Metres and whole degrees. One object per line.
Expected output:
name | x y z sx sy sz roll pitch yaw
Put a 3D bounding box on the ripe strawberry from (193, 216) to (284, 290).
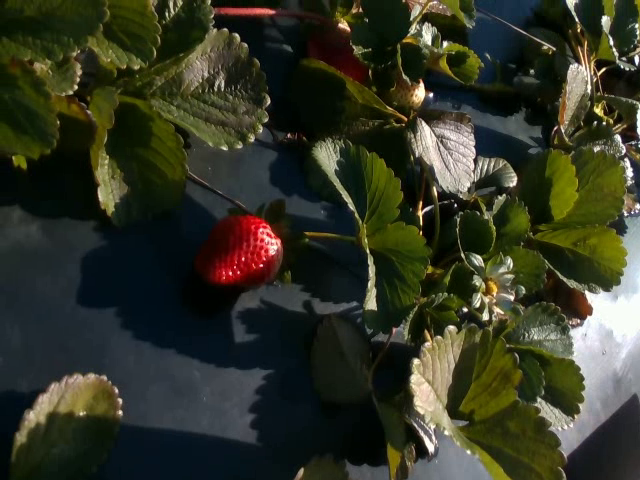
ripe strawberry | -0.040 0.008 0.286 0.044 0.042 0.055 1 26 34
